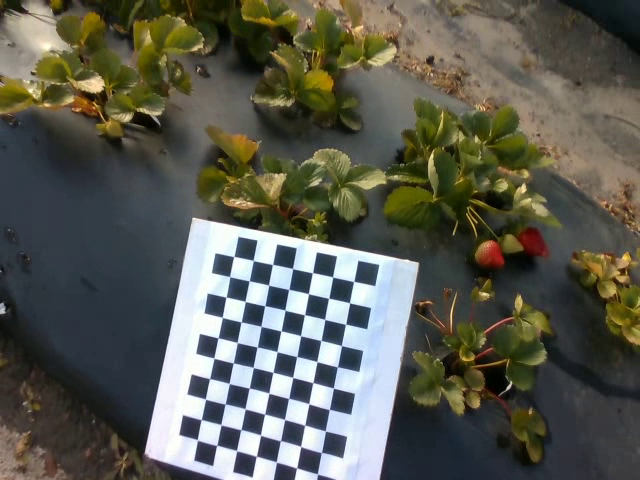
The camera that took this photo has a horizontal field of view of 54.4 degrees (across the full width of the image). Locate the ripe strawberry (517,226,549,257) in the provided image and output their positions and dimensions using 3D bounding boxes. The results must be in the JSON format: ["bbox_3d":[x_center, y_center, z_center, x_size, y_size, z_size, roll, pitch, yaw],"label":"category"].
[{"bbox_3d":[0.346,0.006,0.994,0.049,0.065,0.050,-38,-14,6],"label":"ripe strawberry"}]
